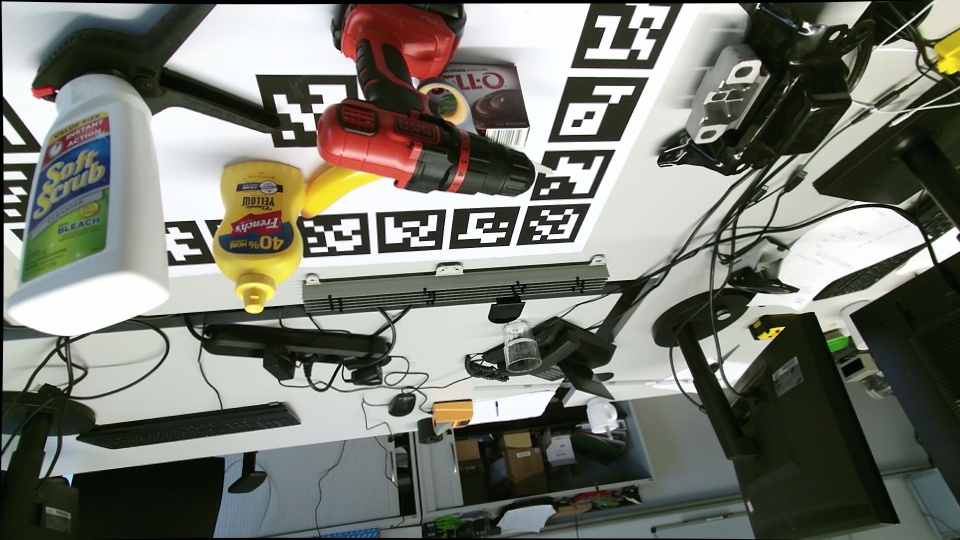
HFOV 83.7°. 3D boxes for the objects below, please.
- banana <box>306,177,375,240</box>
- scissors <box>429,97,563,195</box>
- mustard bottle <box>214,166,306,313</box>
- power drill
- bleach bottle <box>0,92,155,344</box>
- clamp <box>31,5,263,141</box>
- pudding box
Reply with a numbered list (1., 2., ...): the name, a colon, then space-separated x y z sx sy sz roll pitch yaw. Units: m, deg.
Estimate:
1. banana: -0.163 -0.089 0.693 0.198 0.038 0.074 -27 160 22
2. scissors: 0.008 -0.113 0.556 0.204 0.016 0.088 15 135 -28
3. mustard bottle: -0.257 -0.035 0.626 0.096 0.190 0.058 5 144 -22
4. power drill: -0.046 -0.149 0.462 0.185 0.186 0.057 1 152 -23
5. bleach bottle: -0.340 -0.068 0.466 0.103 0.249 0.068 -21 150 1
6. clamp: -0.321 -0.165 0.517 0.203 0.036 0.165 -7 145 -4
7. pudding box: -0.011 -0.168 0.583 0.114 0.089 0.039 -2 152 -14
